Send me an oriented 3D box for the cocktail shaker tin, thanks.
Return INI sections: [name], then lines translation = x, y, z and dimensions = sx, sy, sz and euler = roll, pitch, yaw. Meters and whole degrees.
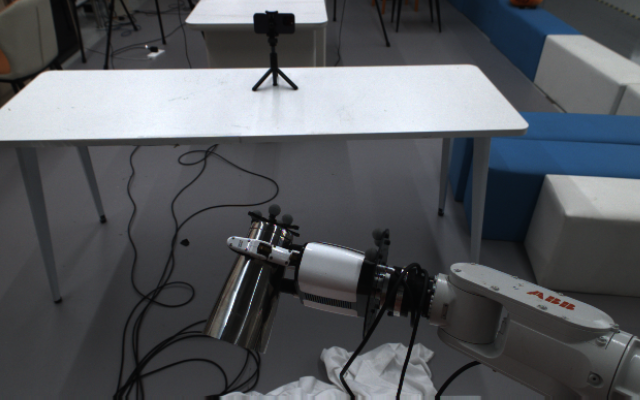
[cocktail shaker tin]
translation = -0.095, 0.119, 0.694
dimensions = 0.093, 0.093, 0.170
euler = 13, 71, 16
